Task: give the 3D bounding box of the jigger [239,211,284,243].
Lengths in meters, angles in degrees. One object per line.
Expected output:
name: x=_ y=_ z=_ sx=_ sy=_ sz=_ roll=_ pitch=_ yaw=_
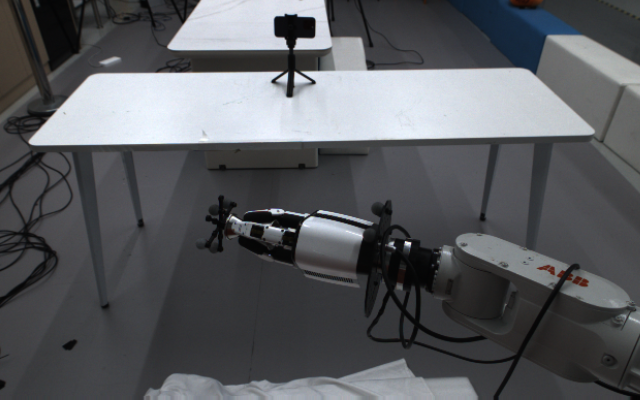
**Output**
jigger: x=-0.092 y=0.041 z=0.693 sx=0.071 sy=0.043 sz=0.043 roll=10 pitch=35 yaw=16
